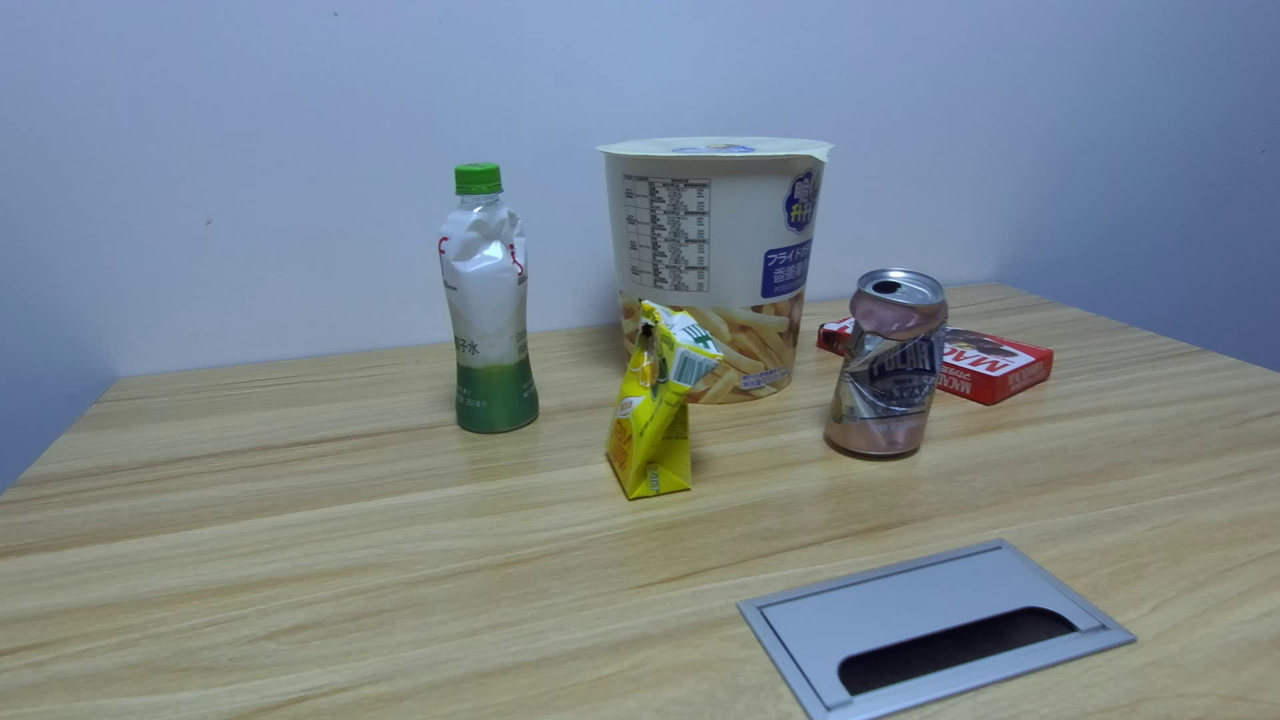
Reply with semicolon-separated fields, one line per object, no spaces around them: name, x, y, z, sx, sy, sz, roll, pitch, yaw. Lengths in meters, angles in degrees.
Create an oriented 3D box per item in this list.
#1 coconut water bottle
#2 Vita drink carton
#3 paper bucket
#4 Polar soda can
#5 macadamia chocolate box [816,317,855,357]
coconut water bottle;-0.111;-0.043;0.513;0.069;0.186;0.069;-1;20;1
Vita drink carton;0.015;0.025;0.447;0.042;0.108;0.086;8;20;-19
paper bucket;0.061;-0.081;0.594;0.198;0.194;0.198;-1;21;1
Polar soda can;0.166;0.006;0.476;0.066;0.122;0.071;15;27;23
macadamia chocolate box;0.262;-0.009;0.646;0.106;0.028;0.182;-14;24;-33
